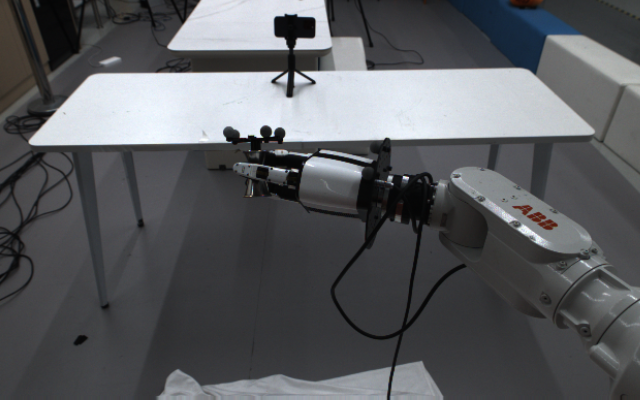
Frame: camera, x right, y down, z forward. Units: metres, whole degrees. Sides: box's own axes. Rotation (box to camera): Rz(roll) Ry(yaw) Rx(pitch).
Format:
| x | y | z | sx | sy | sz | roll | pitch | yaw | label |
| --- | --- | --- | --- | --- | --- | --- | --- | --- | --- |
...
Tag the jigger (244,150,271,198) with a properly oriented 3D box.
| x | y | z | sx | sy | sz | roll | pitch | yaw | label |
| --- | --- | --- | --- | --- | --- | --- | --- | --- | --- |
| -0.095 | -0.039 | 0.722 | 0.043 | 0.071 | 0.043 | -2 | 3 | 0 | jigger |
